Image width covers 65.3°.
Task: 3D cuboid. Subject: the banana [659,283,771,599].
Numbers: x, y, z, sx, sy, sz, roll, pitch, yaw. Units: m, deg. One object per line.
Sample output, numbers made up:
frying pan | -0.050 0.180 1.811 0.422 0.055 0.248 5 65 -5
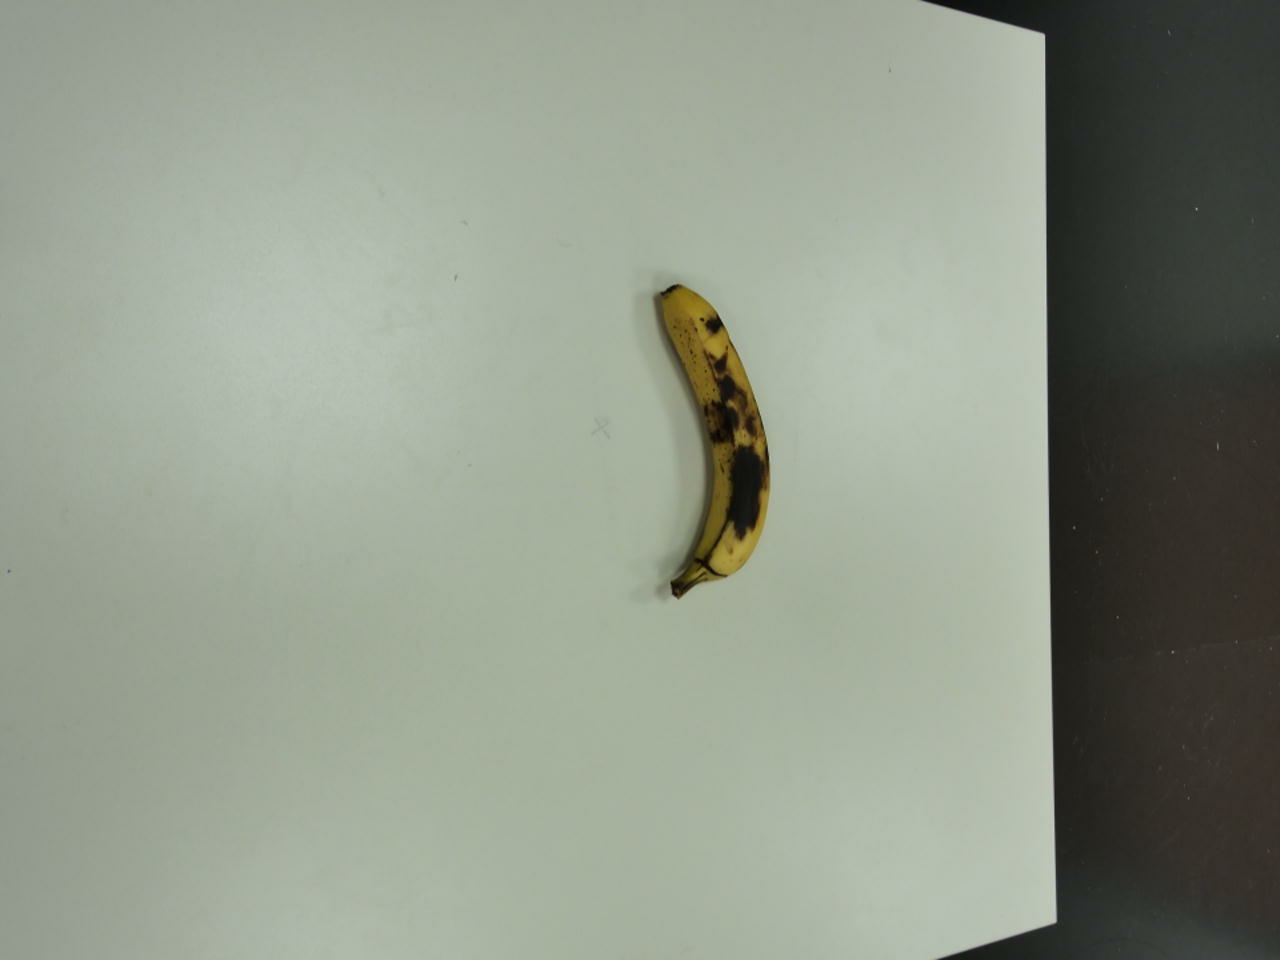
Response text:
banana | 0.056 -0.028 0.719 0.084 0.038 0.222 0 90 -28
